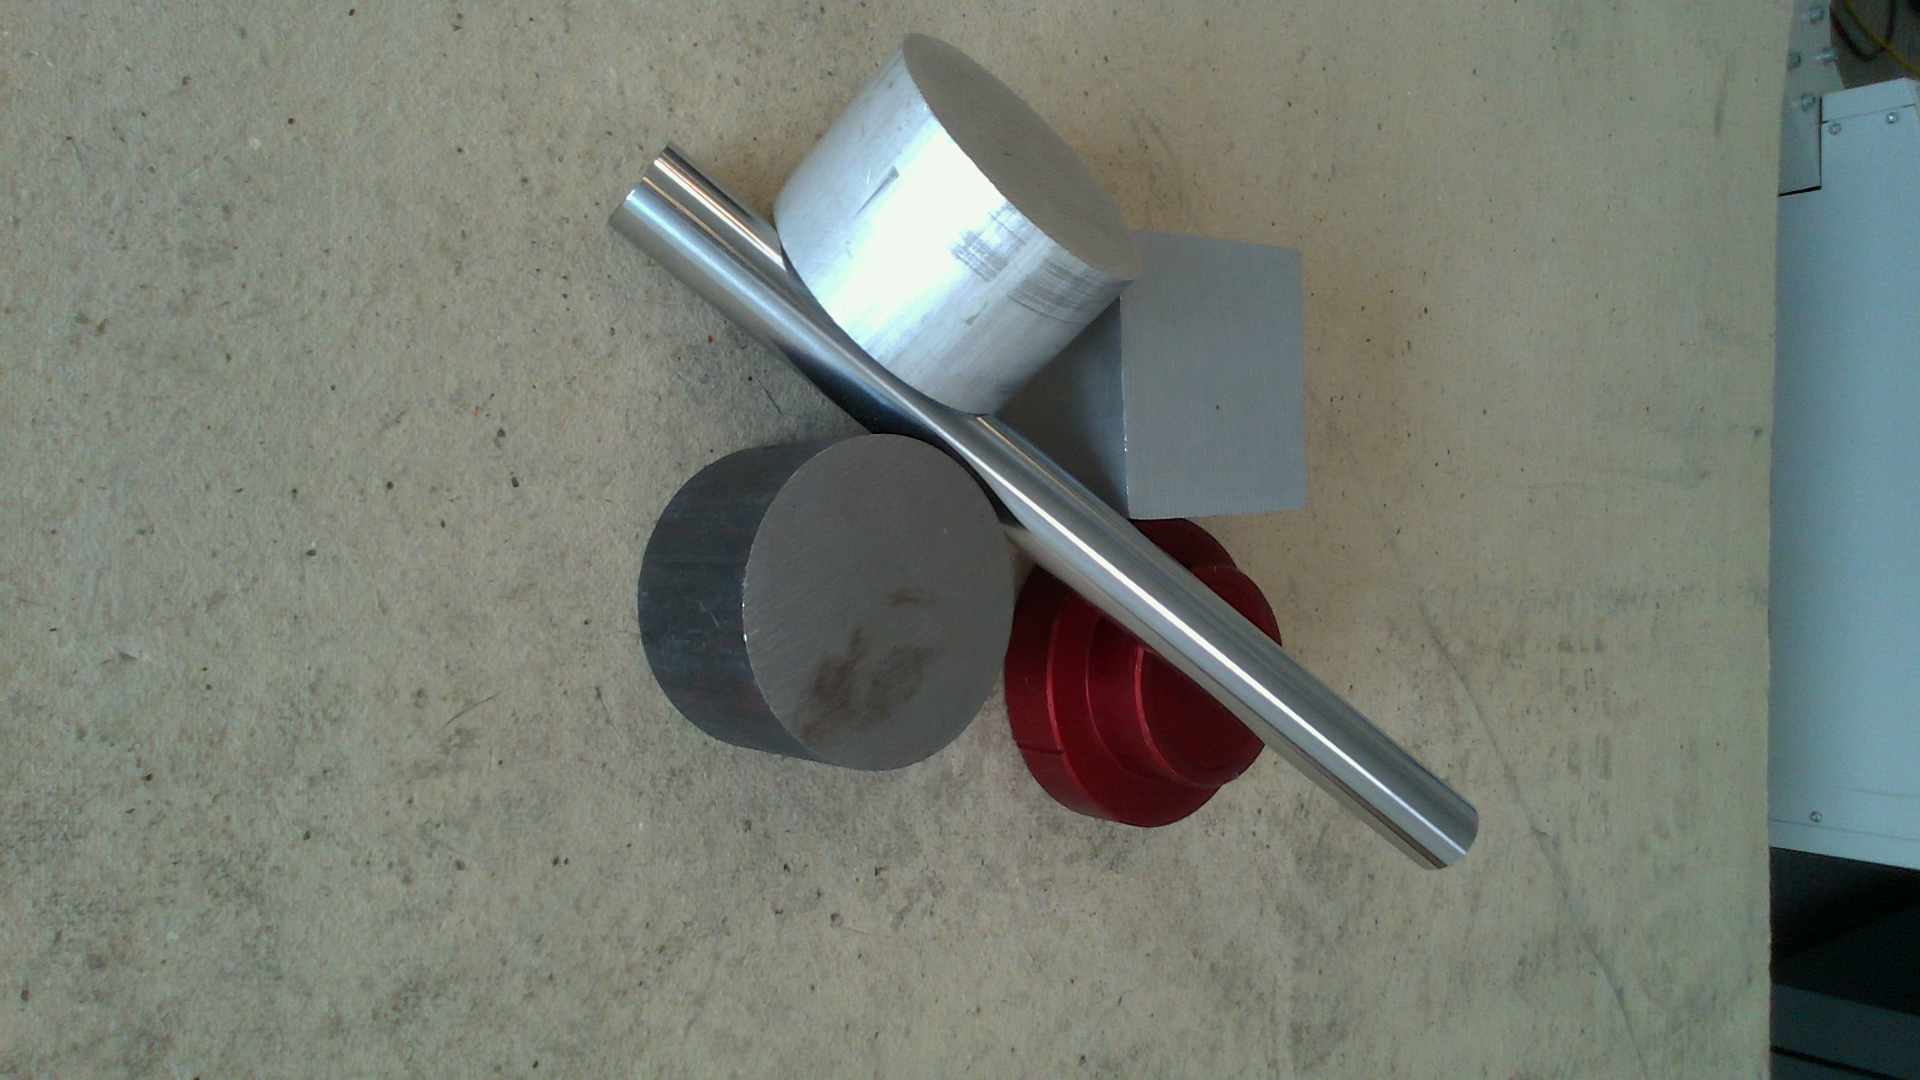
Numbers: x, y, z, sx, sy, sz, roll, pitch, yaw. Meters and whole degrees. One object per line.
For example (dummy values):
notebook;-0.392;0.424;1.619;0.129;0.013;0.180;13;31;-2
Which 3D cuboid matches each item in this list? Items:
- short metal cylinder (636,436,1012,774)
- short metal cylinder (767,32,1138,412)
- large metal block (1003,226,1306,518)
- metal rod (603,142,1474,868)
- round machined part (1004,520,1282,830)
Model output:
short metal cylinder;-0.033;0.015;0.346;0.080;0.050;0.080;0;90;-40
short metal cylinder;-0.001;-0.079;0.347;0.080;0.050;0.080;36;29;-23
large metal block;0.059;-0.048;0.419;0.080;0.050;0.080;-4;93;-40
metal rod;0.035;0.003;0.375;0.301;0.025;0.025;38;66;-19
round machined part;0.064;0.042;0.430;0.098;0.042;0.098;0;90;-40
